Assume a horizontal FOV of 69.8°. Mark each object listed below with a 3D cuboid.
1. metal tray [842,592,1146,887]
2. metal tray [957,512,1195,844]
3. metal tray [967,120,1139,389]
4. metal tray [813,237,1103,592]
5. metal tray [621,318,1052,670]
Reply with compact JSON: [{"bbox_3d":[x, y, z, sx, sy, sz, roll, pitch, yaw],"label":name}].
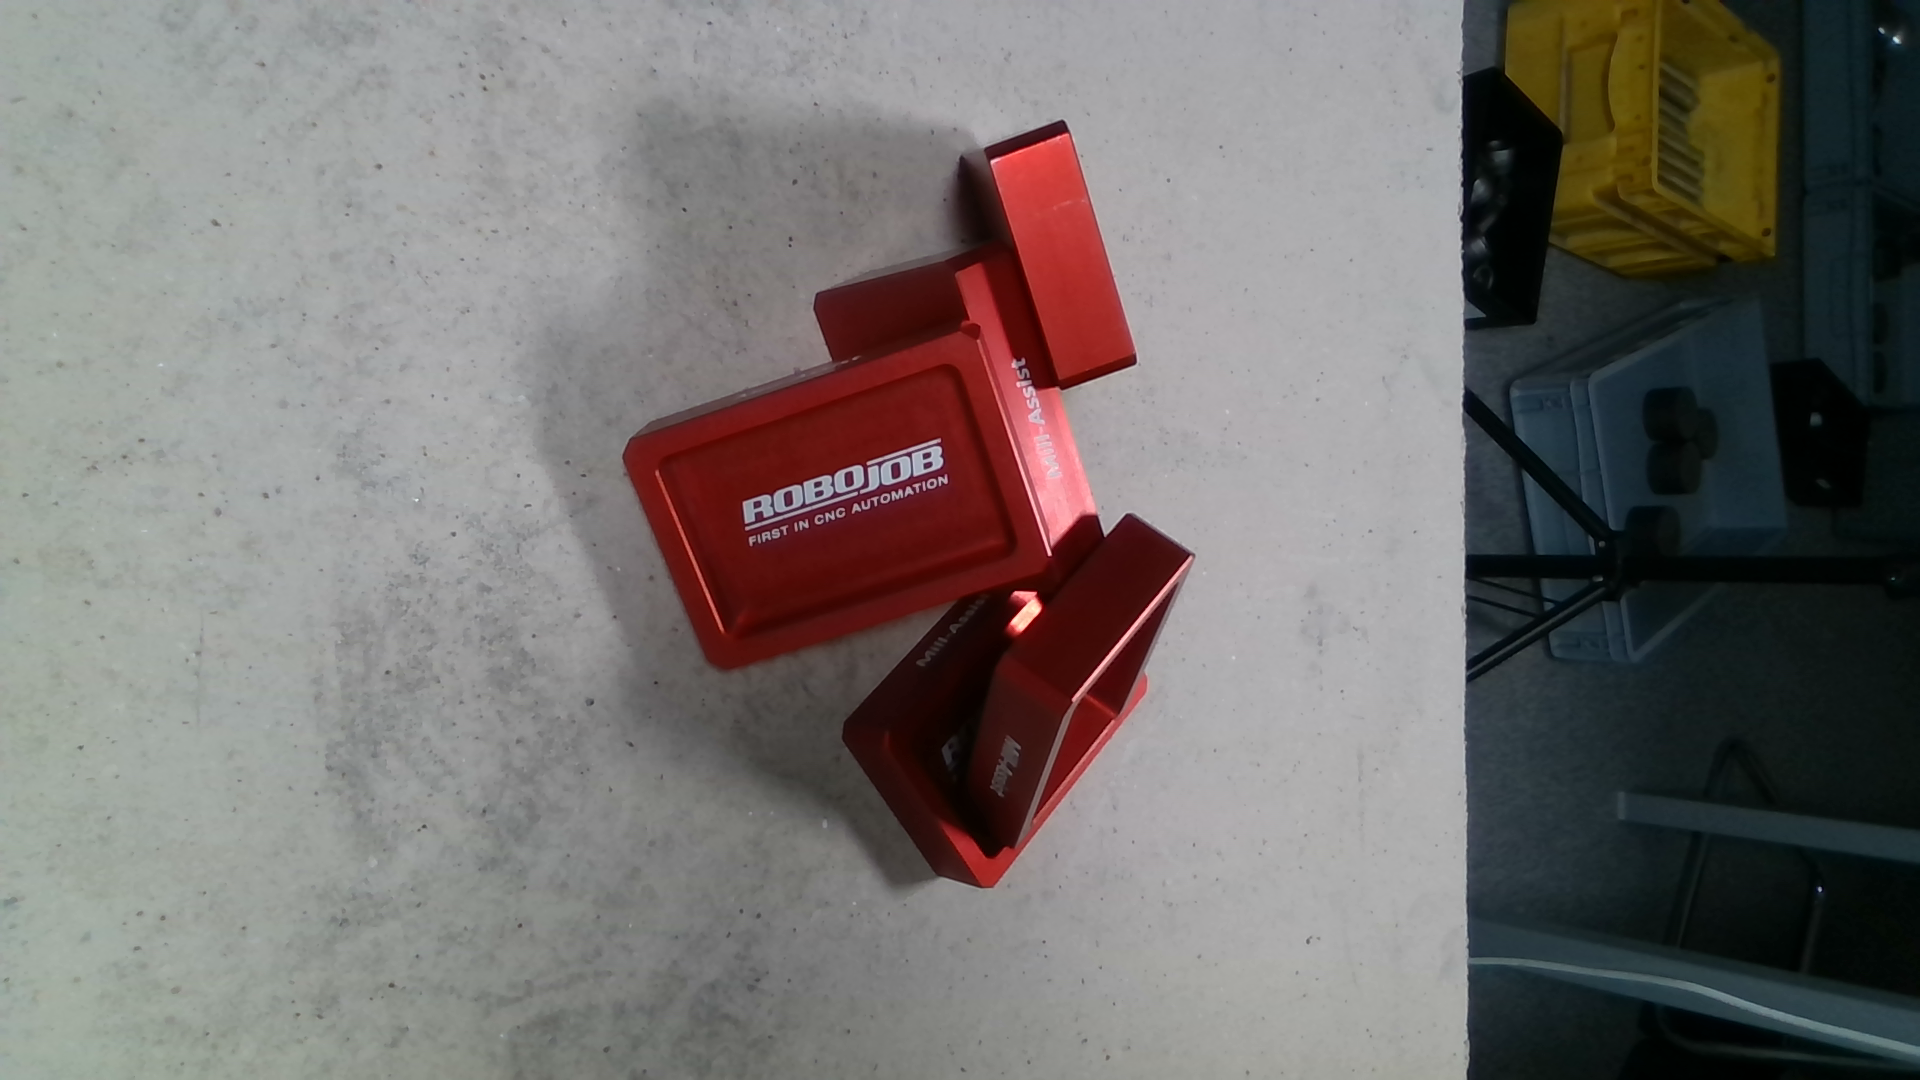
[{"bbox_3d":[0.019,0.072,0.596,0.130,0.030,0.090,-46,118,-30],"label":"metal tray"},{"bbox_3d":[0.044,0.058,0.547,0.090,0.030,0.130,-45,162,-30],"label":"metal tray"},{"bbox_3d":[0.033,-0.116,0.549,0.030,0.130,0.090,-19,106,1],"label":"metal tray"},{"bbox_3d":[-0.001,-0.045,0.540,0.030,0.090,0.130,-32,110,-36],"label":"metal tray"},{"bbox_3d":[-0.042,-0.016,0.491,0.130,0.030,0.090,-18,106,7],"label":"metal tray"}]
